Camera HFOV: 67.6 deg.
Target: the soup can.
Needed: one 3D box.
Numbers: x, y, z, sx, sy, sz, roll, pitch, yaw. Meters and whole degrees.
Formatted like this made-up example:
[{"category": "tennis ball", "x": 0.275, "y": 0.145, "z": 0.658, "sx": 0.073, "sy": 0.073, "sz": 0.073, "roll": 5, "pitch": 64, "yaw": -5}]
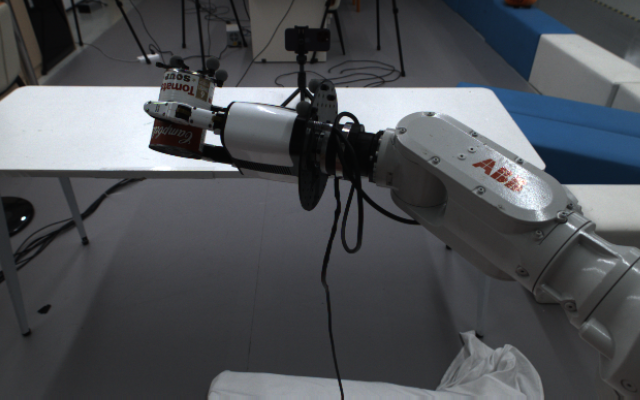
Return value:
[{"category": "soup can", "x": -0.179, "y": -0.109, "z": 0.631, "sx": 0.067, "sy": 0.101, "sz": 0.067, "roll": 9, "pitch": -5, "yaw": 1}]
